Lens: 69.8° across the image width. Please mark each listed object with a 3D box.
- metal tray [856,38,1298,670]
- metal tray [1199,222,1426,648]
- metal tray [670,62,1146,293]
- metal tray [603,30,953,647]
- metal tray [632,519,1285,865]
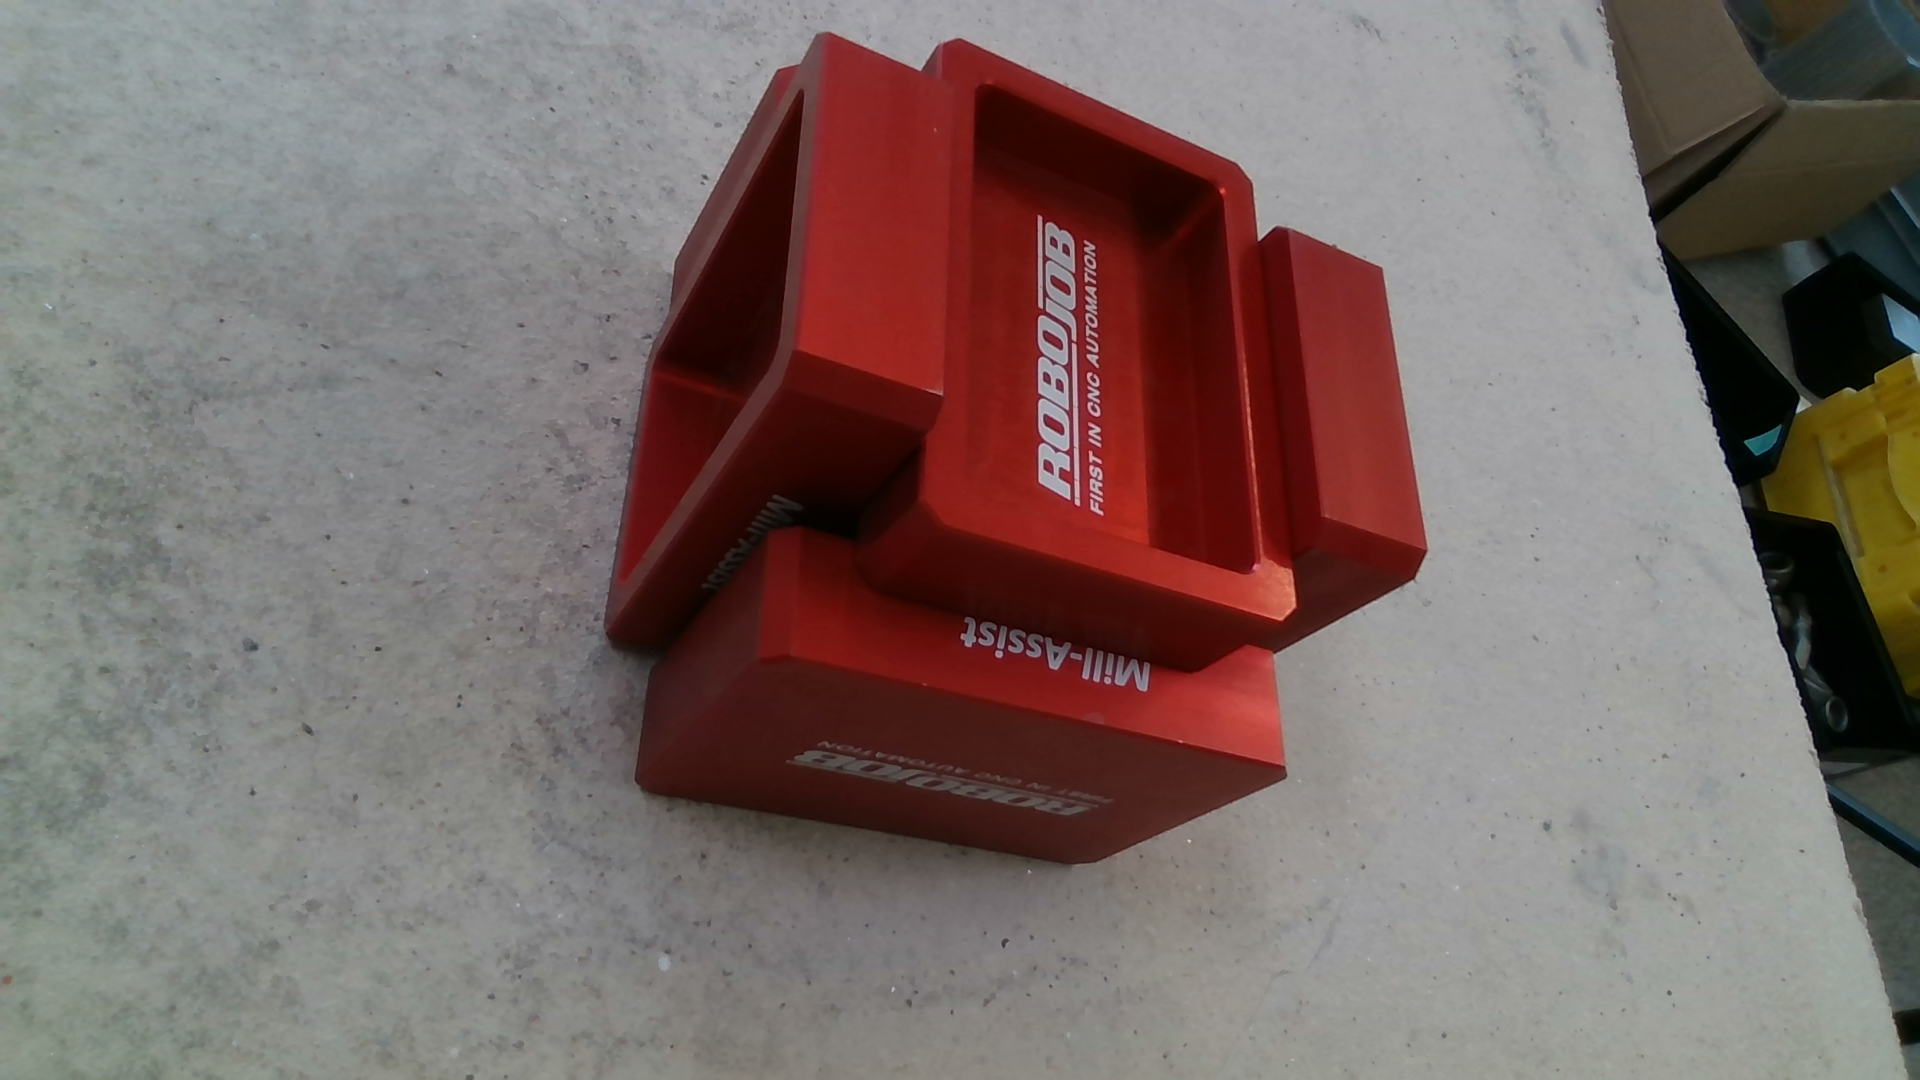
[{"bbox_3d":[0.027,-0.043,0.313,0.090,0.030,0.130,15,58,-24],"label":"metal tray"},{"bbox_3d":[0.060,-0.010,0.367,0.030,0.130,0.090,16,58,-24],"label":"metal tray"},{"bbox_3d":[-0.006,-0.072,0.385,0.130,0.090,0.030,14,59,-25],"label":"metal tray"},{"bbox_3d":[-0.045,-0.038,0.317,0.030,0.130,0.090,15,58,-24],"label":"metal tray"},{"bbox_3d":[-0.001,0.043,0.327,0.130,0.090,0.030,16,57,-25],"label":"metal tray"}]
